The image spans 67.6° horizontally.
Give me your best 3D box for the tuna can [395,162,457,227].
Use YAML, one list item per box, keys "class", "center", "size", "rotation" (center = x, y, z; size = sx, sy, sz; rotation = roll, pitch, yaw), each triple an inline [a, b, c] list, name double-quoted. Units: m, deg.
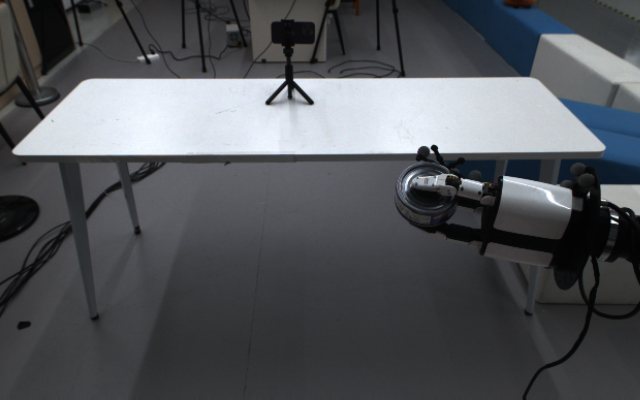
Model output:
- class: "tuna can"
  center: [0.147, -0.011, 0.657]
  size: [0.085, 0.034, 0.085]
  rotation: [-4, 58, 6]
